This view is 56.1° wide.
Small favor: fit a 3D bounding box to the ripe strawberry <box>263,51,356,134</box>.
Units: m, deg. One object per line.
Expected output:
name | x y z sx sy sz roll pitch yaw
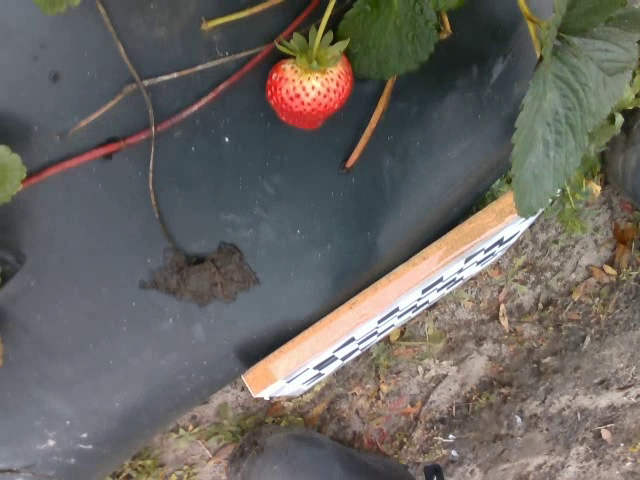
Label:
ripe strawberry | -0.006 -0.089 0.377 0.061 0.050 0.065 -33 -21 -14
